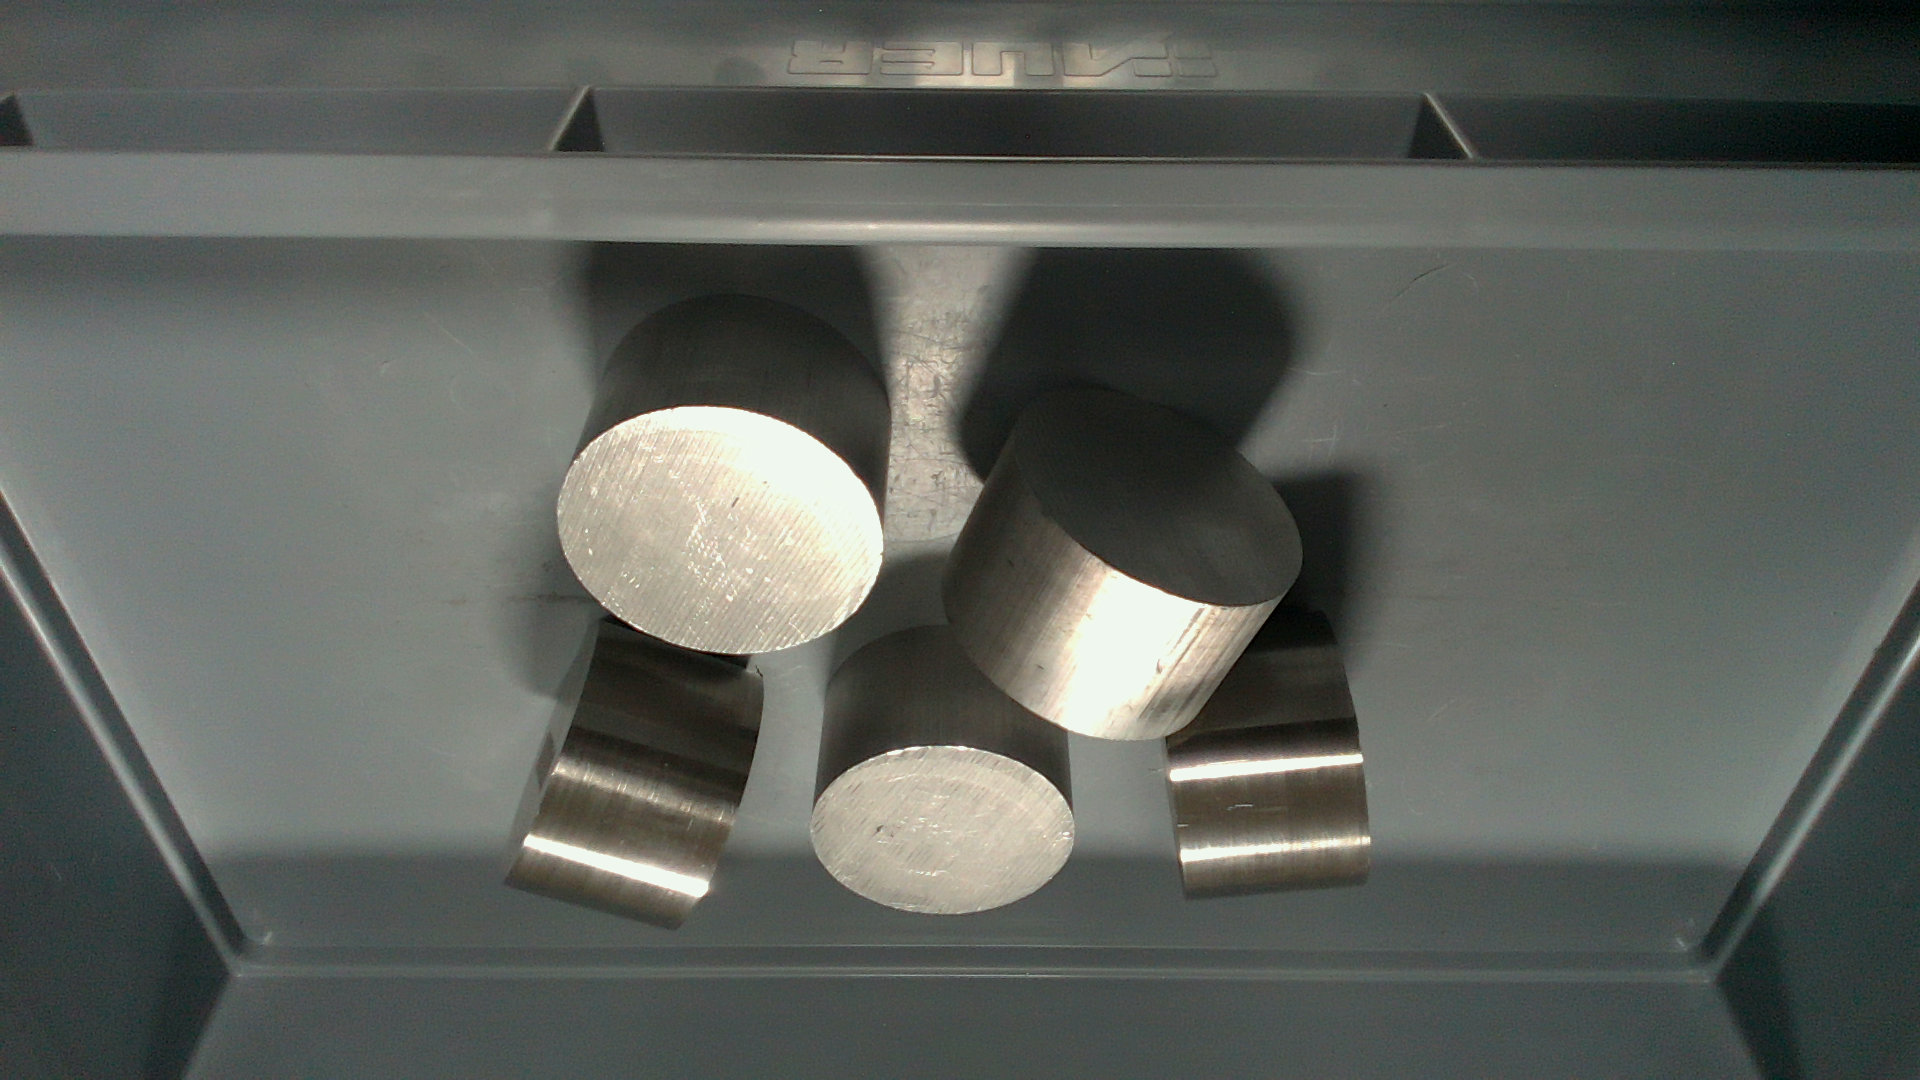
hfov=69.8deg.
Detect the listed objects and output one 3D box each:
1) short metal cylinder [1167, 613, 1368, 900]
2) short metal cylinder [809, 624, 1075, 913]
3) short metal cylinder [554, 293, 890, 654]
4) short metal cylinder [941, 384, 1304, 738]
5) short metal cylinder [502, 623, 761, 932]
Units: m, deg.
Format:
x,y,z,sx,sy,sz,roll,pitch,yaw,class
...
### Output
x,y,z,sx,sy,sz,roll,pitch,yaw,class
0.086,0.064,0.407,0.050,0.080,0.080,-7,130,6,short metal cylinder
-0.005,0.073,0.434,0.080,0.050,0.080,0,130,0,short metal cylinder
-0.059,-0.016,0.358,0.080,0.050,0.080,0,130,0,short metal cylinder
0.041,0.004,0.358,0.080,0.080,0.050,17,128,-14,short metal cylinder
-0.098,0.071,0.411,0.050,0.080,0.080,21,127,-17,short metal cylinder
